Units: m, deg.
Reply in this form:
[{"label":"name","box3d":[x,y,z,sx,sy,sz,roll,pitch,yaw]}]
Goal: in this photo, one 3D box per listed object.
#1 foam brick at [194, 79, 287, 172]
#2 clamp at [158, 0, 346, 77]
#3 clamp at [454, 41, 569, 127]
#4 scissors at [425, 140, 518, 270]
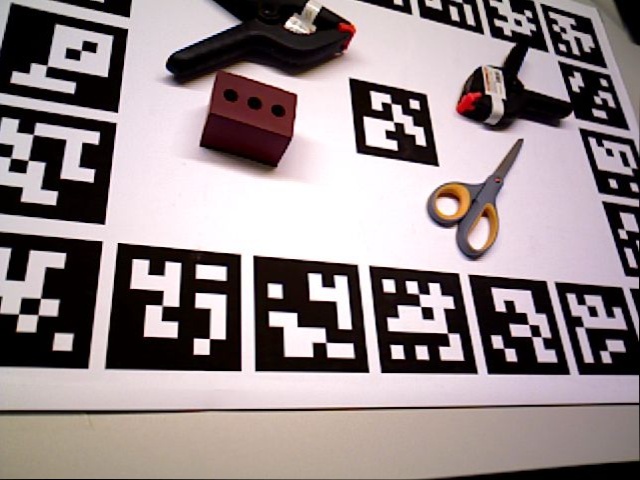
[{"label":"foam brick","box3d":[-0.074,-0.105,0.505,0.077,0.052,0.052,11,65,-13]},{"label":"clamp","box3d":[-0.069,-0.226,0.566,0.200,0.037,0.164,2,64,-22]},{"label":"clamp","box3d":[0.232,-0.185,0.676,0.162,0.037,0.122,-24,85,-28]},{"label":"scissors","box3d":[0.182,-0.057,0.603,0.088,0.016,0.198,45,57,-8]}]
